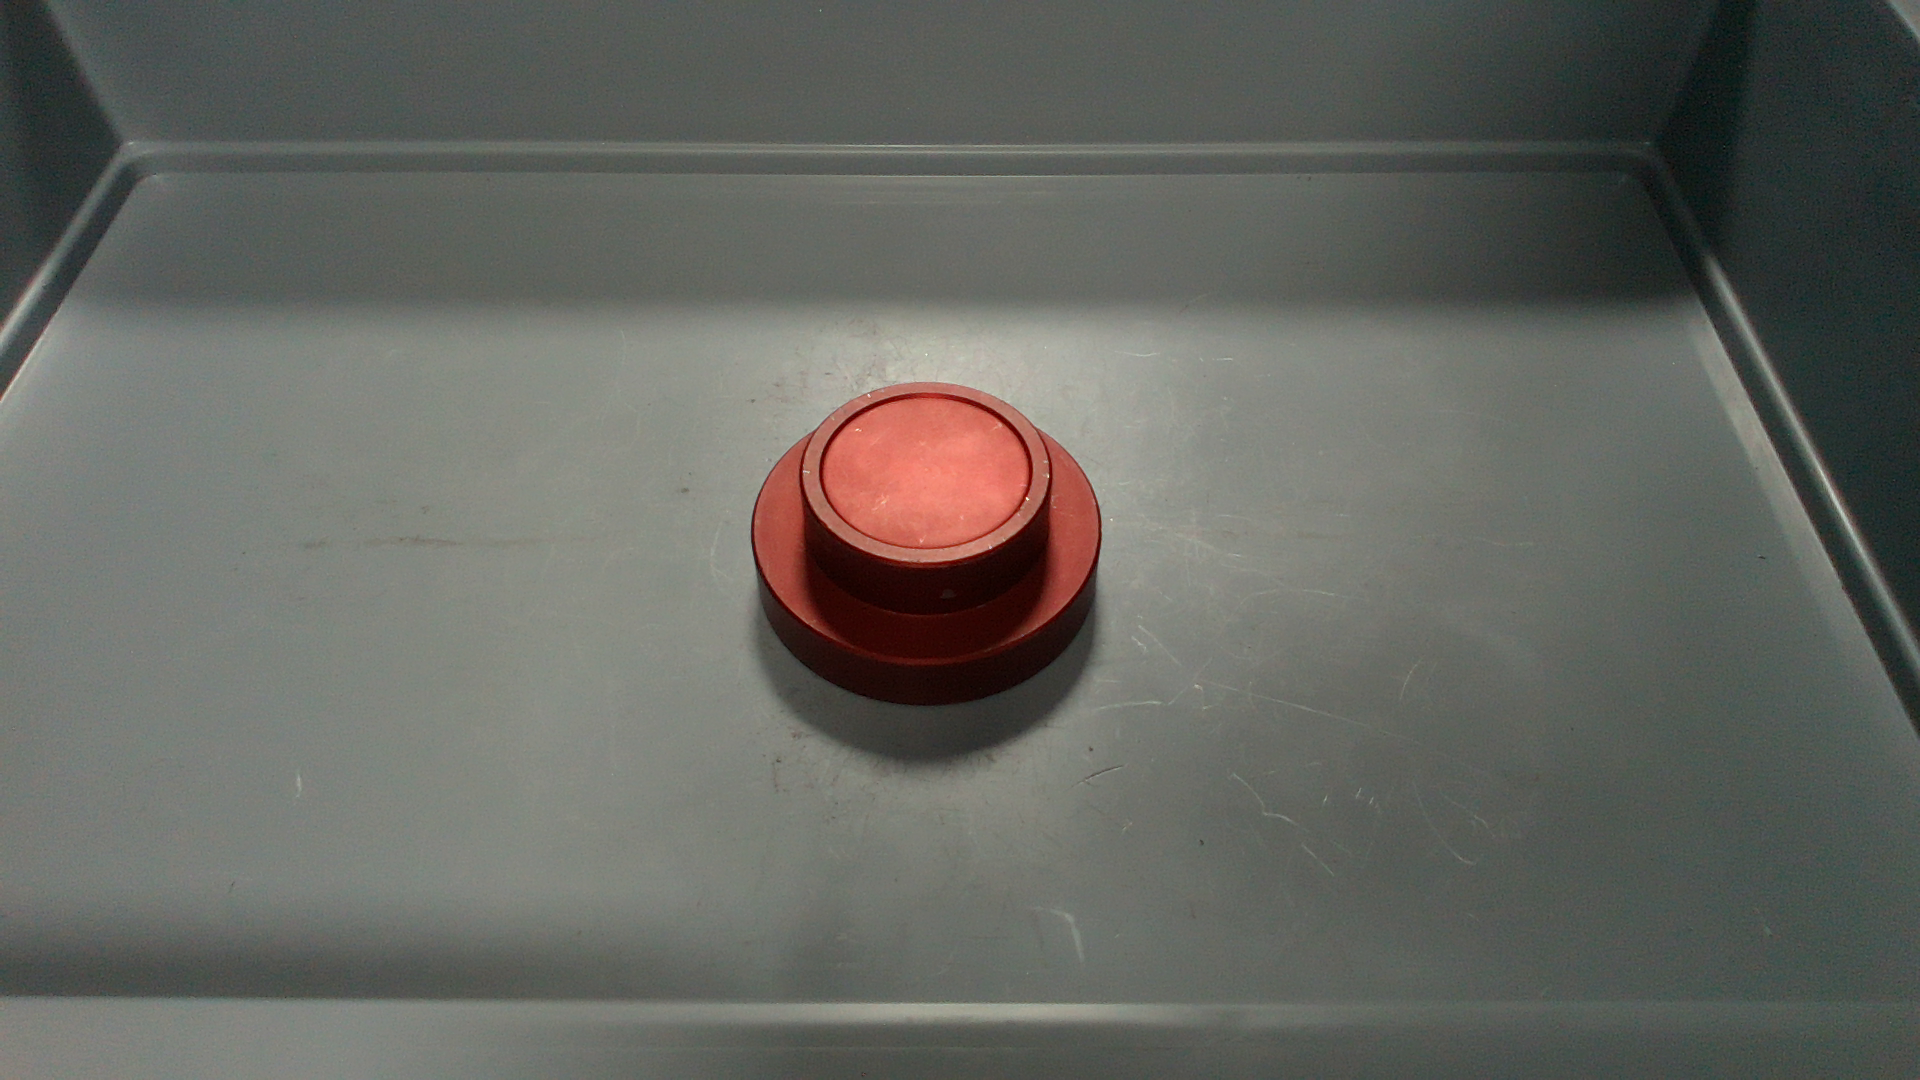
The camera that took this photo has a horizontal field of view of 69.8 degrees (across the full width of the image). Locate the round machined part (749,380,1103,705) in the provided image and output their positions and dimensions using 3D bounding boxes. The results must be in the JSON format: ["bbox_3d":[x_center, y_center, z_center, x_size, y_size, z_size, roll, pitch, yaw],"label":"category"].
[{"bbox_3d":[-0.009,-0.006,0.382,0.098,0.042,0.098,0,50,0],"label":"round machined part"}]
